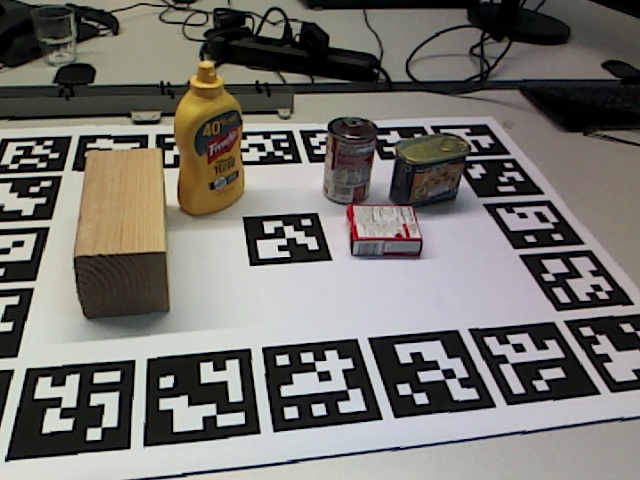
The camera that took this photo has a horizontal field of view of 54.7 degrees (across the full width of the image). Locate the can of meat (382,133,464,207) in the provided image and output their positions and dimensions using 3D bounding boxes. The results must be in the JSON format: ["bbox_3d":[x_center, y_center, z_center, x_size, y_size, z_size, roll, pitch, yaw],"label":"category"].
[{"bbox_3d":[0.140,-0.095,0.861,0.101,0.083,0.058,-11,42,-23],"label":"can of meat"}]

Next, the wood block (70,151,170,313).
[{"bbox_3d":[-0.224,-0.018,0.719,0.091,0.090,0.207,-2,35,-11],"label":"wood block"}]

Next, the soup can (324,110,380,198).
[{"bbox_3d":[0.042,-0.117,0.849,0.068,0.102,0.068,3,40,-3],"label":"soup can"}]

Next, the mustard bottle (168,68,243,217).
[{"bbox_3d":[-0.144,-0.125,0.789,0.096,0.191,0.059,-21,45,-31],"label":"mustard bottle"}]

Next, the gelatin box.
[{"bbox_3d":[0.081,-0.014,0.789,0.089,0.030,0.073,1,40,-1],"label":"gelatin box"}]
